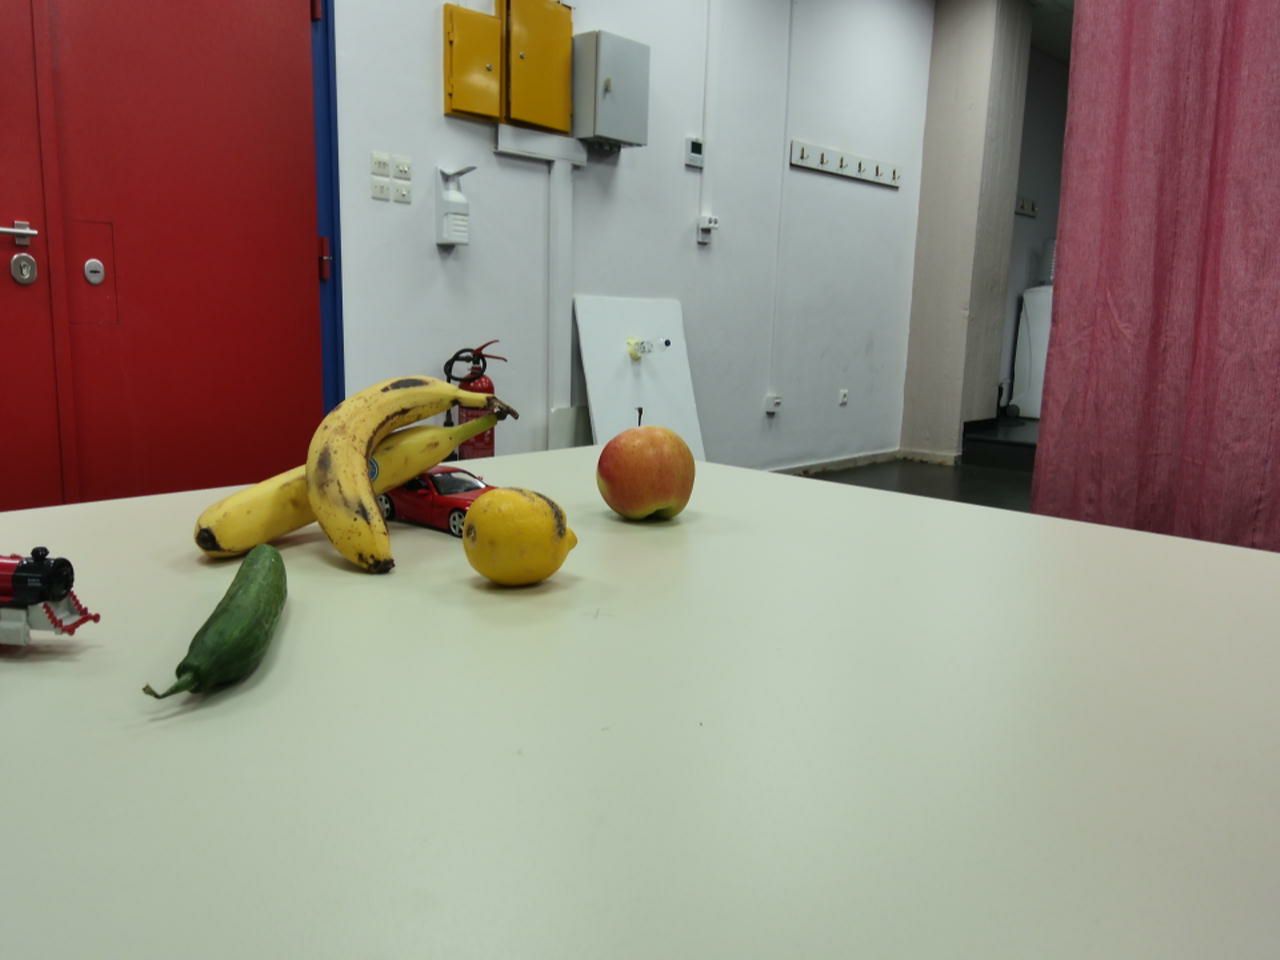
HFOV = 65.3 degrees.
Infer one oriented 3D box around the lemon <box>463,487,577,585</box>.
[{"bbox_3d":[-0.072,0.032,0.577,0.058,0.056,0.061,6,10,34],"label":"lemon"}]
